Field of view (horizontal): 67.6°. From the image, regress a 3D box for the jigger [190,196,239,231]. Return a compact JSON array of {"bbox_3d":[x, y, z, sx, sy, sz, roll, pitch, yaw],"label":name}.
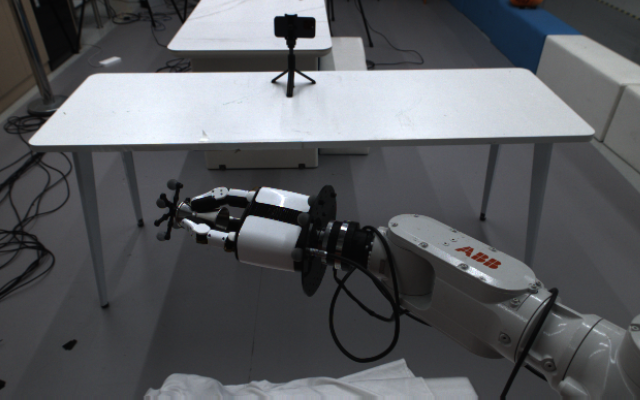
[{"bbox_3d":[-0.171,0.025,0.728,0.071,0.043,0.043,11,36,15],"label":"jigger"}]
